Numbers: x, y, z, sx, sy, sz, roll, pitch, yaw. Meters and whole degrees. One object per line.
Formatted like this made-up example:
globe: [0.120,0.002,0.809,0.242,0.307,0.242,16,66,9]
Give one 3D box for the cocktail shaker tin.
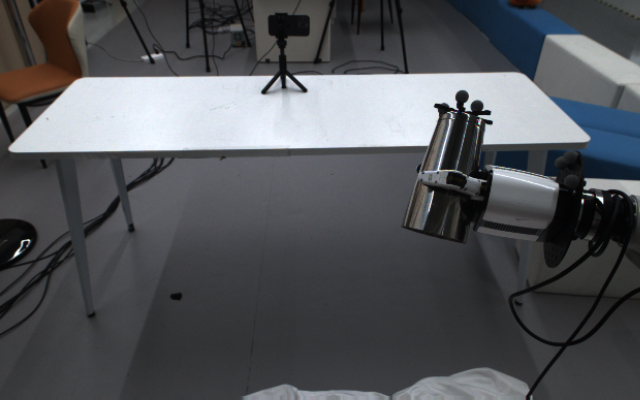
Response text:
cocktail shaker tin: [0.180,-0.034,0.682,0.093,0.170,0.093,16,-4,1]
